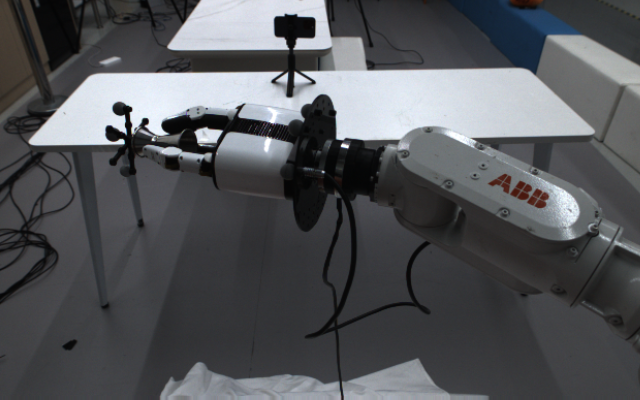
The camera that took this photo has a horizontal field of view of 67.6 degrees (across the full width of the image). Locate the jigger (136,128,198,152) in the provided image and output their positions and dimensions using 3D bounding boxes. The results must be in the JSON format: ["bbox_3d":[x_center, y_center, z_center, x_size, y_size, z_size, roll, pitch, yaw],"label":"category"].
[{"bbox_3d":[-0.189,-0.072,0.609,0.071,0.043,0.043,7,35,15],"label":"jigger"}]
